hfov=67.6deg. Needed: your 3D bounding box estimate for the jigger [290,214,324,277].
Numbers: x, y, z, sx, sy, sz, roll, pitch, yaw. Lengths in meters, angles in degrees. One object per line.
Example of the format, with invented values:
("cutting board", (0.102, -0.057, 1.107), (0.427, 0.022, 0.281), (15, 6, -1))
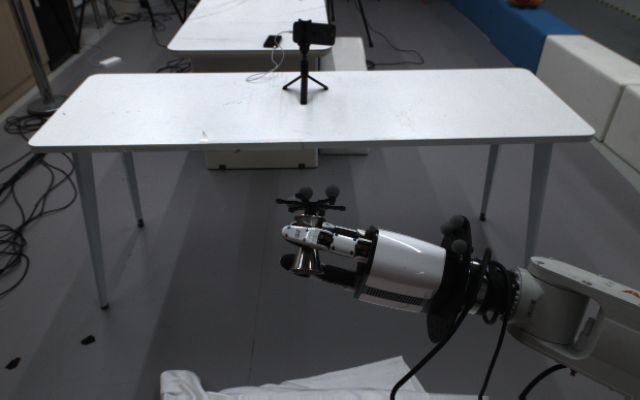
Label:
("jigger", (-0.015, 0.055, 0.601), (0.043, 0.043, 0.071), (3, 75, 2))
